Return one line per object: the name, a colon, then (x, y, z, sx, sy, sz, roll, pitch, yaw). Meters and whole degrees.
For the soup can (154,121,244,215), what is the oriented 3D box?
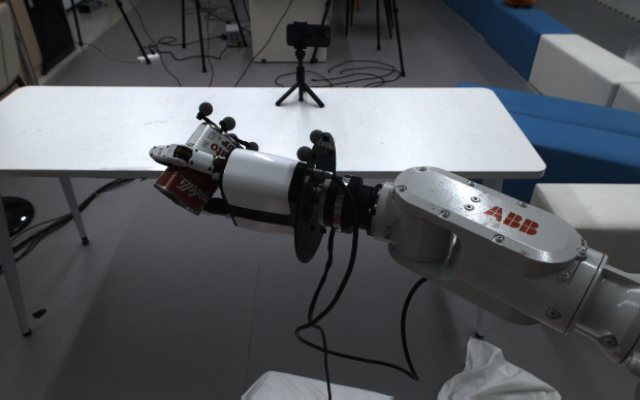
soup can: (-0.154, -0.039, 0.618, 0.067, 0.067, 0.101, 24, 73, 29)
